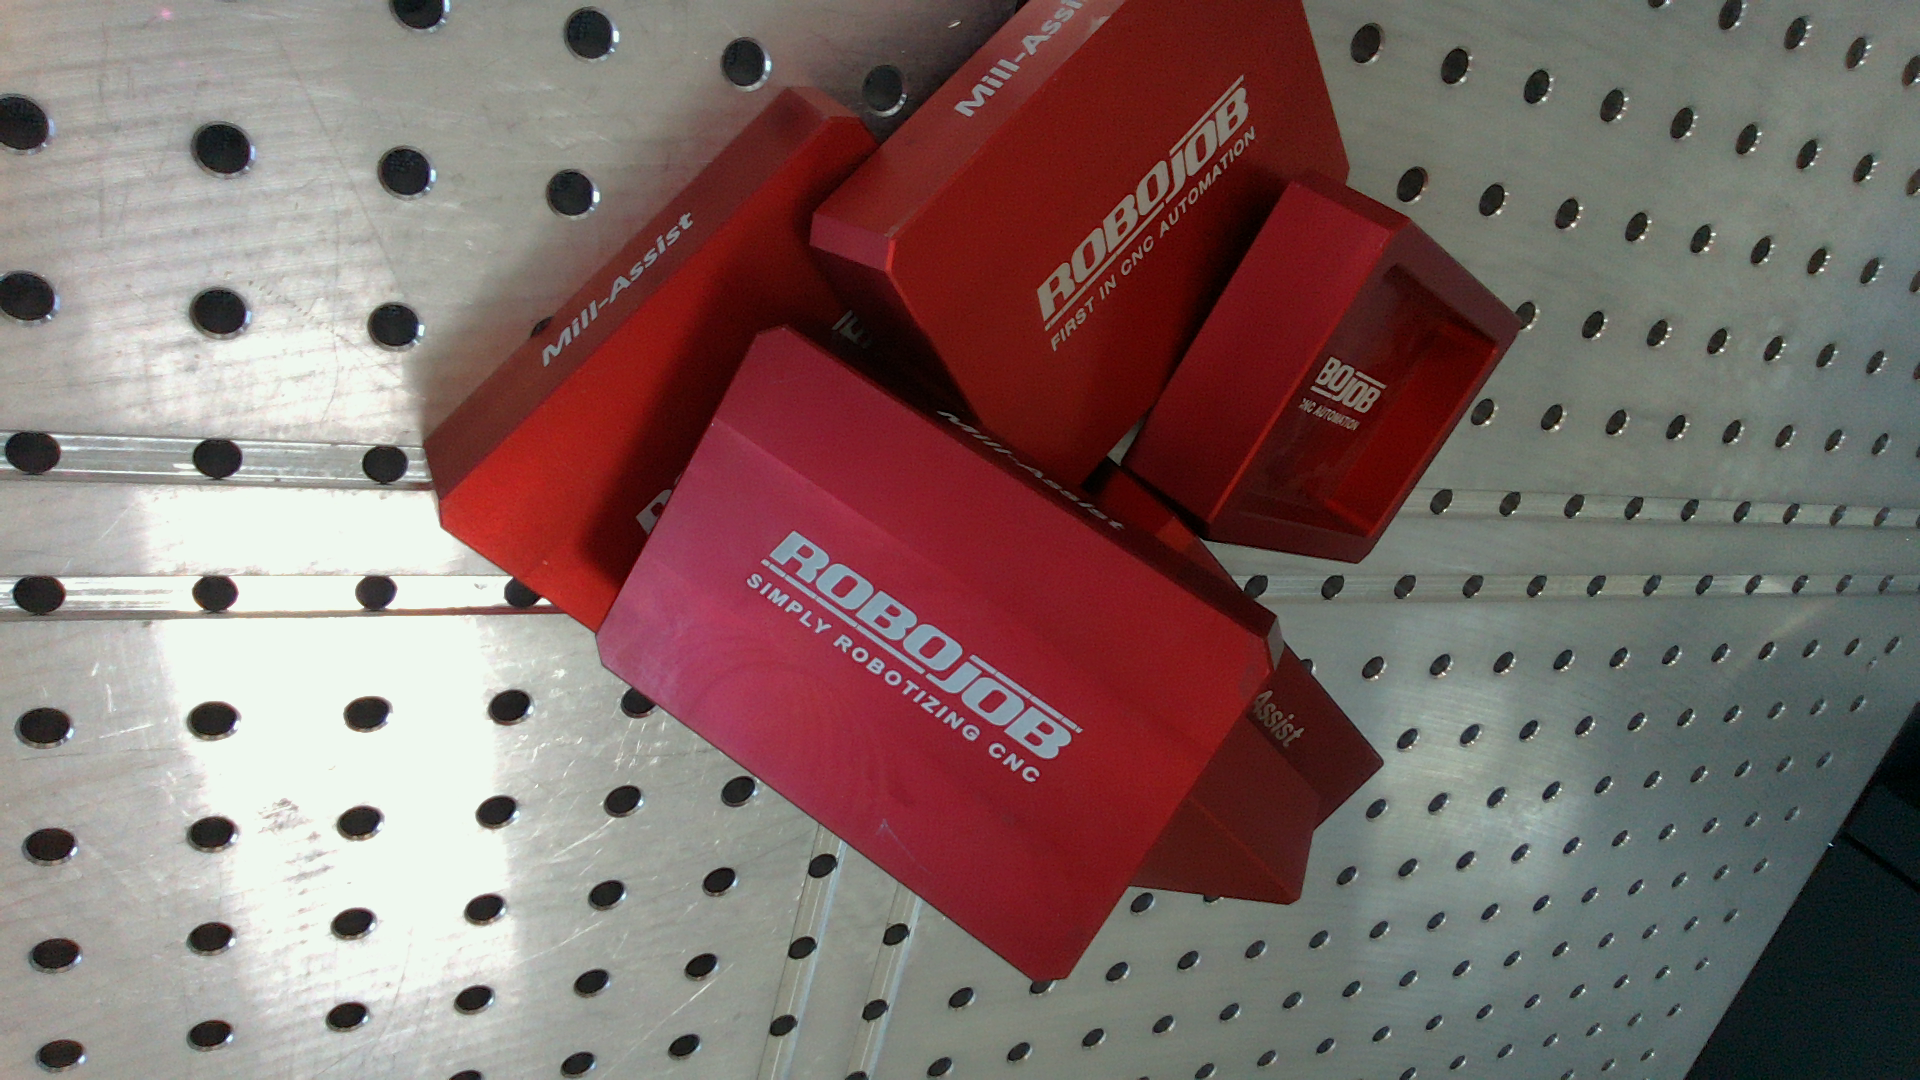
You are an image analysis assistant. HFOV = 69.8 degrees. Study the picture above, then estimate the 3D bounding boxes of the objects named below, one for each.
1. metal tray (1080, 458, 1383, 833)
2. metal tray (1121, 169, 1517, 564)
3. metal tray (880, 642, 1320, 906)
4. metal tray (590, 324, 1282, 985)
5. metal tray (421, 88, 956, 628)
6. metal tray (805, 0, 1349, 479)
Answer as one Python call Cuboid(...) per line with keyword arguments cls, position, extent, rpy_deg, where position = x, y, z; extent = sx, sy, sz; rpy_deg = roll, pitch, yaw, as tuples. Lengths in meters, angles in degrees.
Cuboid(cls="metal tray", position=(0.060, 0.021, 0.395), extent=(0.030, 0.090, 0.130), rpy_deg=(-44, 129, 2))
Cuboid(cls="metal tray", position=(0.106, -0.041, 0.390), extent=(0.131, 0.030, 0.090), rpy_deg=(7, 117, -56))
Cuboid(cls="metal tray", position=(0.021, 0.064, 0.381), extent=(0.090, 0.129, 0.030), rpy_deg=(45, 54, -39))
Cuboid(cls="metal tray", position=(-0.007, 0.023, 0.305), extent=(0.090, 0.130, 0.030), rpy_deg=(-59, 169, 14))
Cuboid(cls="metal tray", position=(-0.053, -0.033, 0.340), extent=(0.130, 0.030, 0.090), rpy_deg=(-44, 130, 2))
Cuboid(cls="metal tray", position=(0.035, -0.082, 0.333), extent=(0.130, 0.030, 0.090), rpy_deg=(-47, 134, -14))
